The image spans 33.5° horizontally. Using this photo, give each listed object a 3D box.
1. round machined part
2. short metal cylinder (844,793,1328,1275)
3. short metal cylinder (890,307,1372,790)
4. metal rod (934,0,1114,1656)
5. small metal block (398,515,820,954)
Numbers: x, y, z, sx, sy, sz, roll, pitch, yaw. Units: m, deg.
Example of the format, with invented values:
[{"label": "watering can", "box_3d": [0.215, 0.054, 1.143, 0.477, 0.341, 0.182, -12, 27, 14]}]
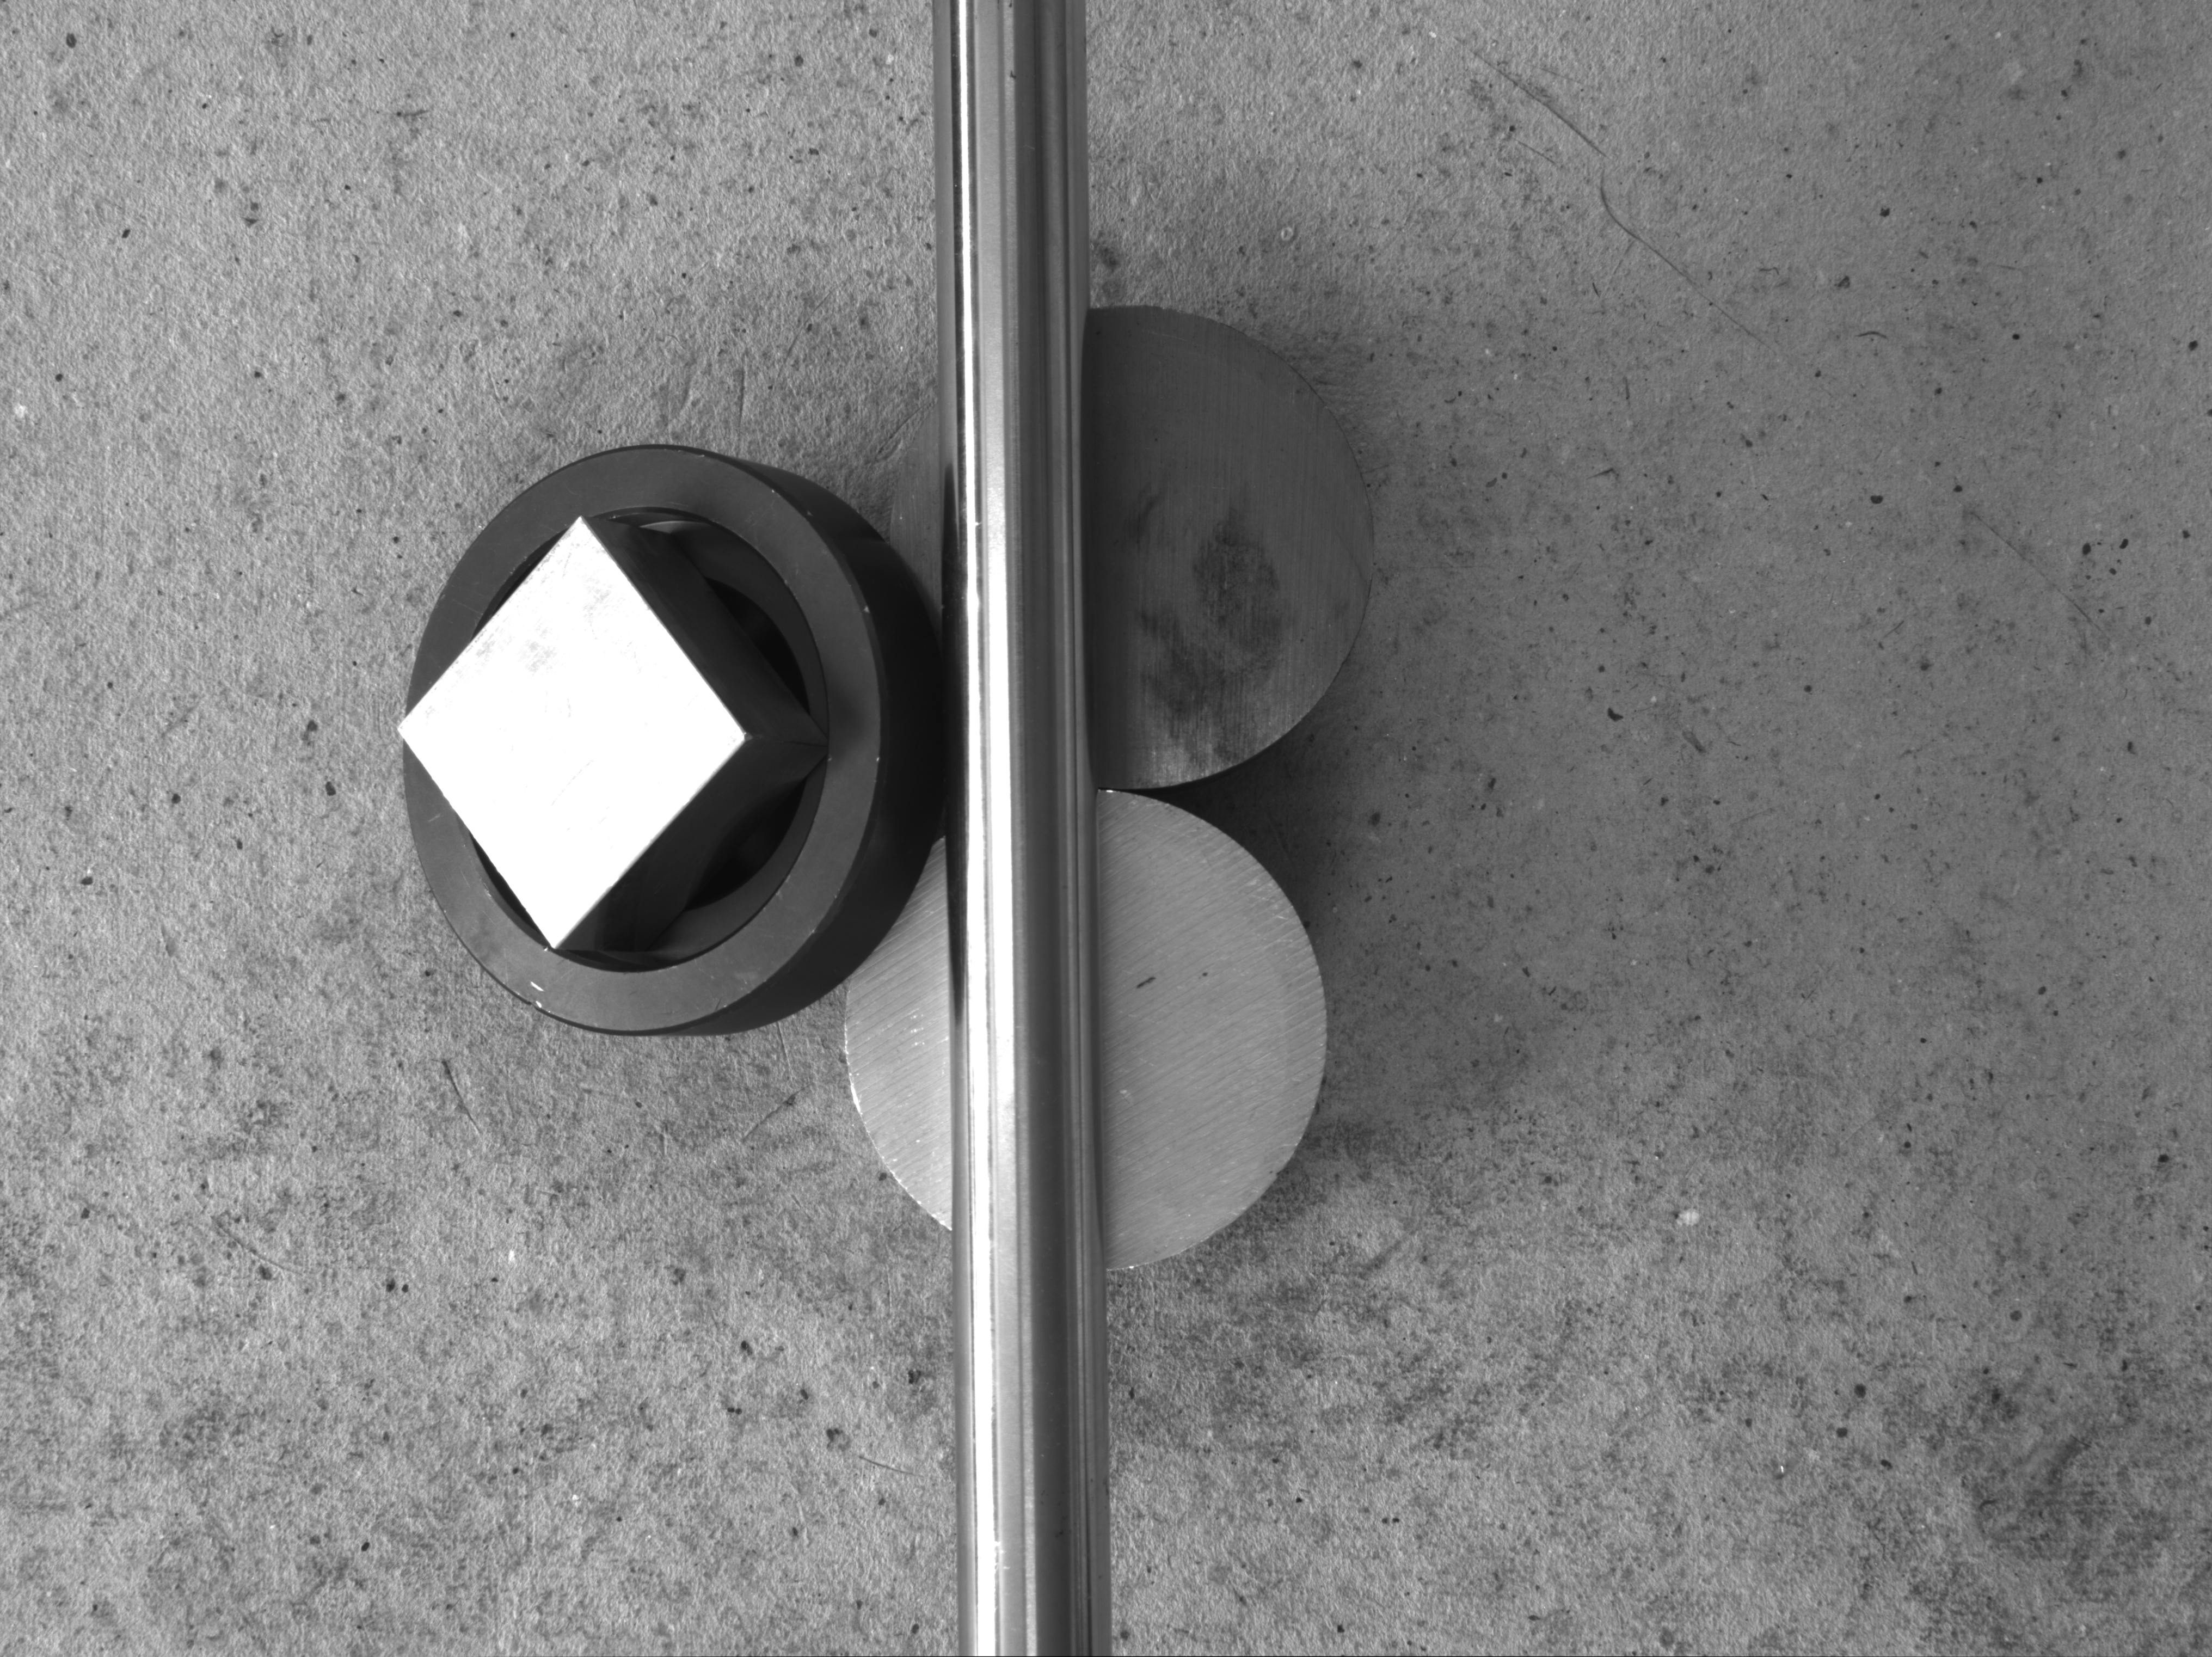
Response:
[{"label": "round machined part", "box_3d": [-0.068, -0.014, 0.625, 0.098, 0.042, 0.098, -2, 87, 29]}, {"label": "short metal cylinder", "box_3d": [-0.003, 0.034, 0.633, 0.080, 0.050, 0.080, 0, 89, 0]}, {"label": "short metal cylinder", "box_3d": [0.004, -0.046, 0.634, 0.080, 0.050, 0.080, 0, 90, 0]}, {"label": "metal rod", "box_3d": [-0.013, -0.010, 0.596, 0.025, 0.025, 0.300, -1, 90, 0]}, {"label": "small metal block", "box_3d": [-0.081, -0.015, 0.606, 0.050, 0.025, 0.050, -46, 68, 19]}]
